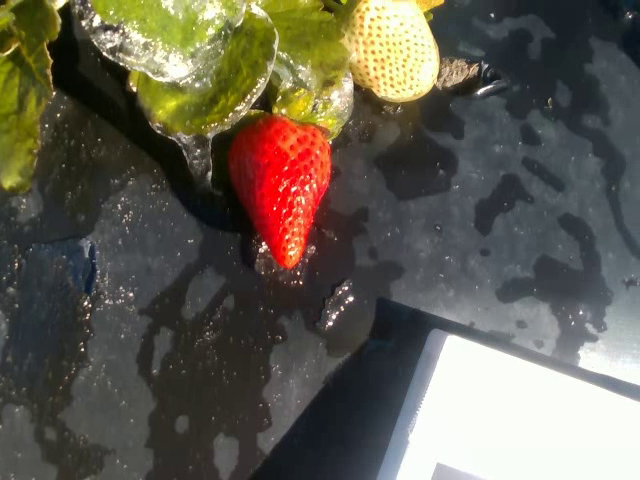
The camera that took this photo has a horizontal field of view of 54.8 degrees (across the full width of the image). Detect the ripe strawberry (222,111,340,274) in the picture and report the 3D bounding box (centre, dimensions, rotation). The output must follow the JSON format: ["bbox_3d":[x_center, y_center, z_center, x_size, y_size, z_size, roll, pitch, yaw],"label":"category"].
[{"bbox_3d":[-0.010,-0.015,0.202,0.041,0.052,0.040,3,-8,-8],"label":"ripe strawberry"}]
